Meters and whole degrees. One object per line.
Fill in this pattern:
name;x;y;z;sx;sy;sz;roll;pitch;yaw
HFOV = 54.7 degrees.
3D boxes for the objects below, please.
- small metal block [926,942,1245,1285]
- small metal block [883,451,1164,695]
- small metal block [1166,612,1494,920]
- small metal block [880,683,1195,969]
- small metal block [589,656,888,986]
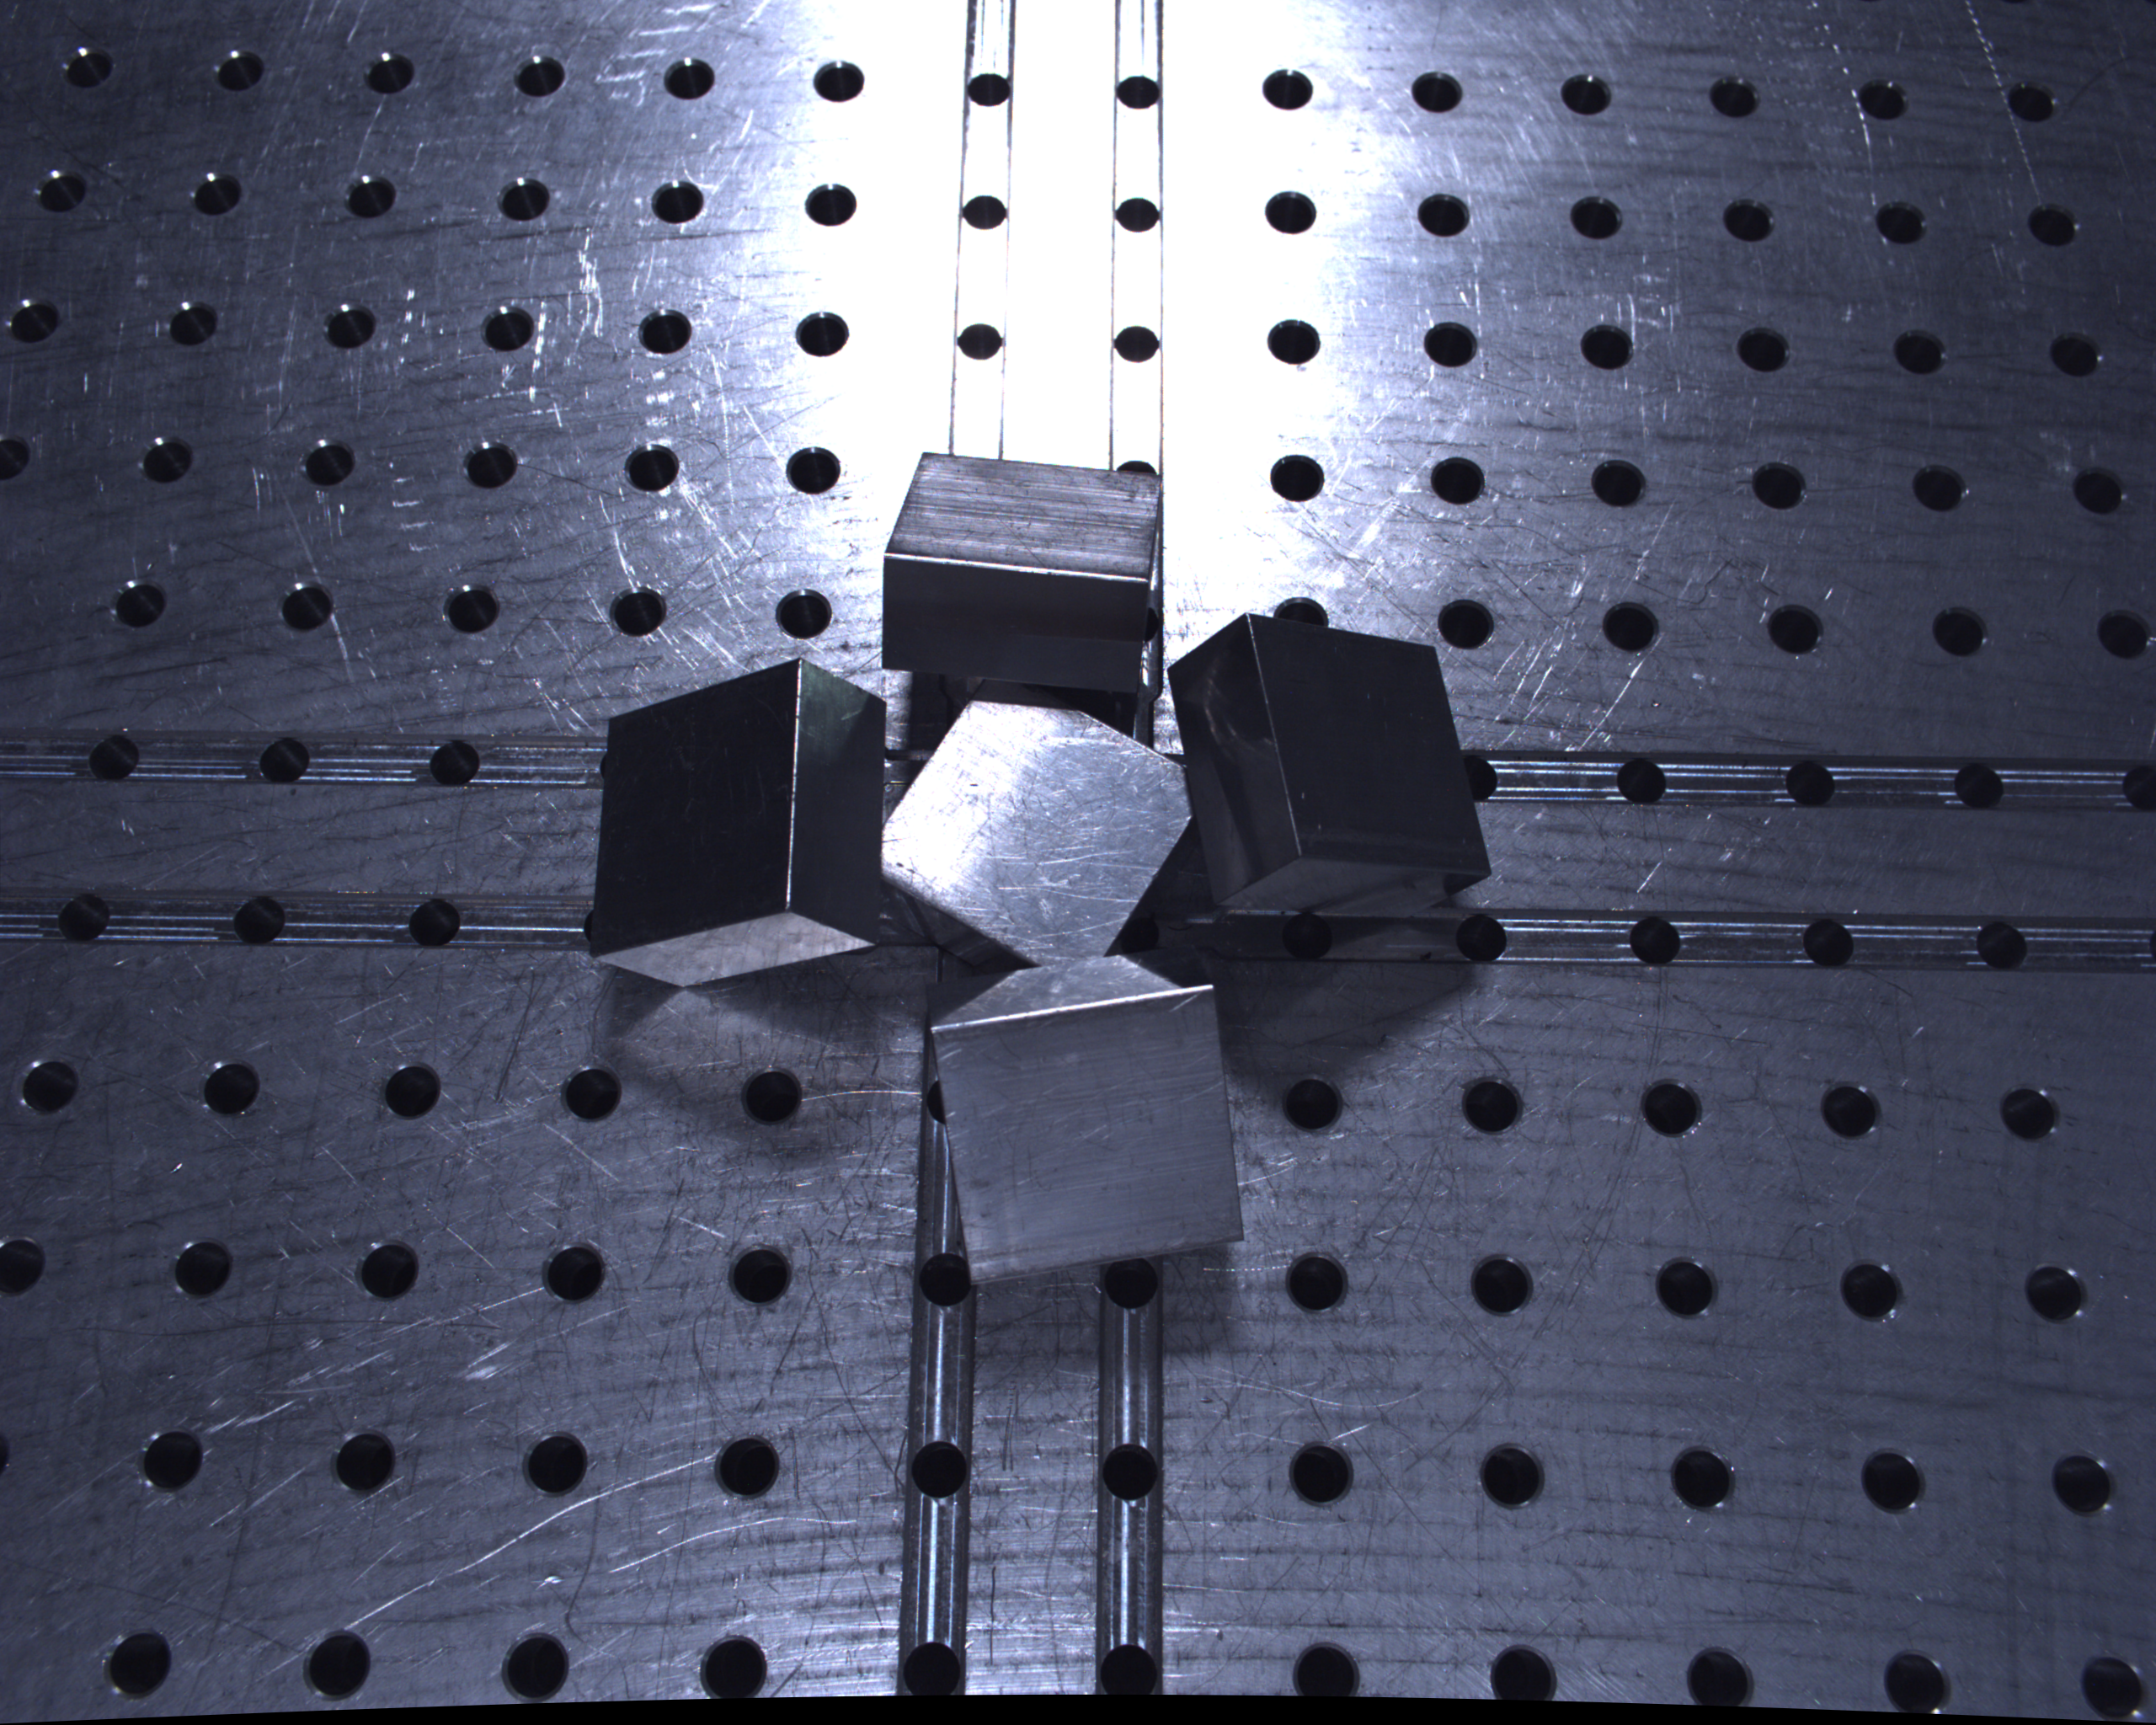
small metal block;0.001;0.045;0.382;0.050;0.025;0.050;-8;106;-4
small metal block;-0.010;-0.059;0.420;0.050;0.025;0.050;6;34;2
small metal block;0.049;-0.018;0.406;0.050;0.025;0.050;5;65;-36
small metal block;-0.008;-0.004;0.412;0.050;0.025;0.050;30;72;10
small metal block;-0.065;-0.007;0.401;0.050;0.025;0.050;-13;66;32
